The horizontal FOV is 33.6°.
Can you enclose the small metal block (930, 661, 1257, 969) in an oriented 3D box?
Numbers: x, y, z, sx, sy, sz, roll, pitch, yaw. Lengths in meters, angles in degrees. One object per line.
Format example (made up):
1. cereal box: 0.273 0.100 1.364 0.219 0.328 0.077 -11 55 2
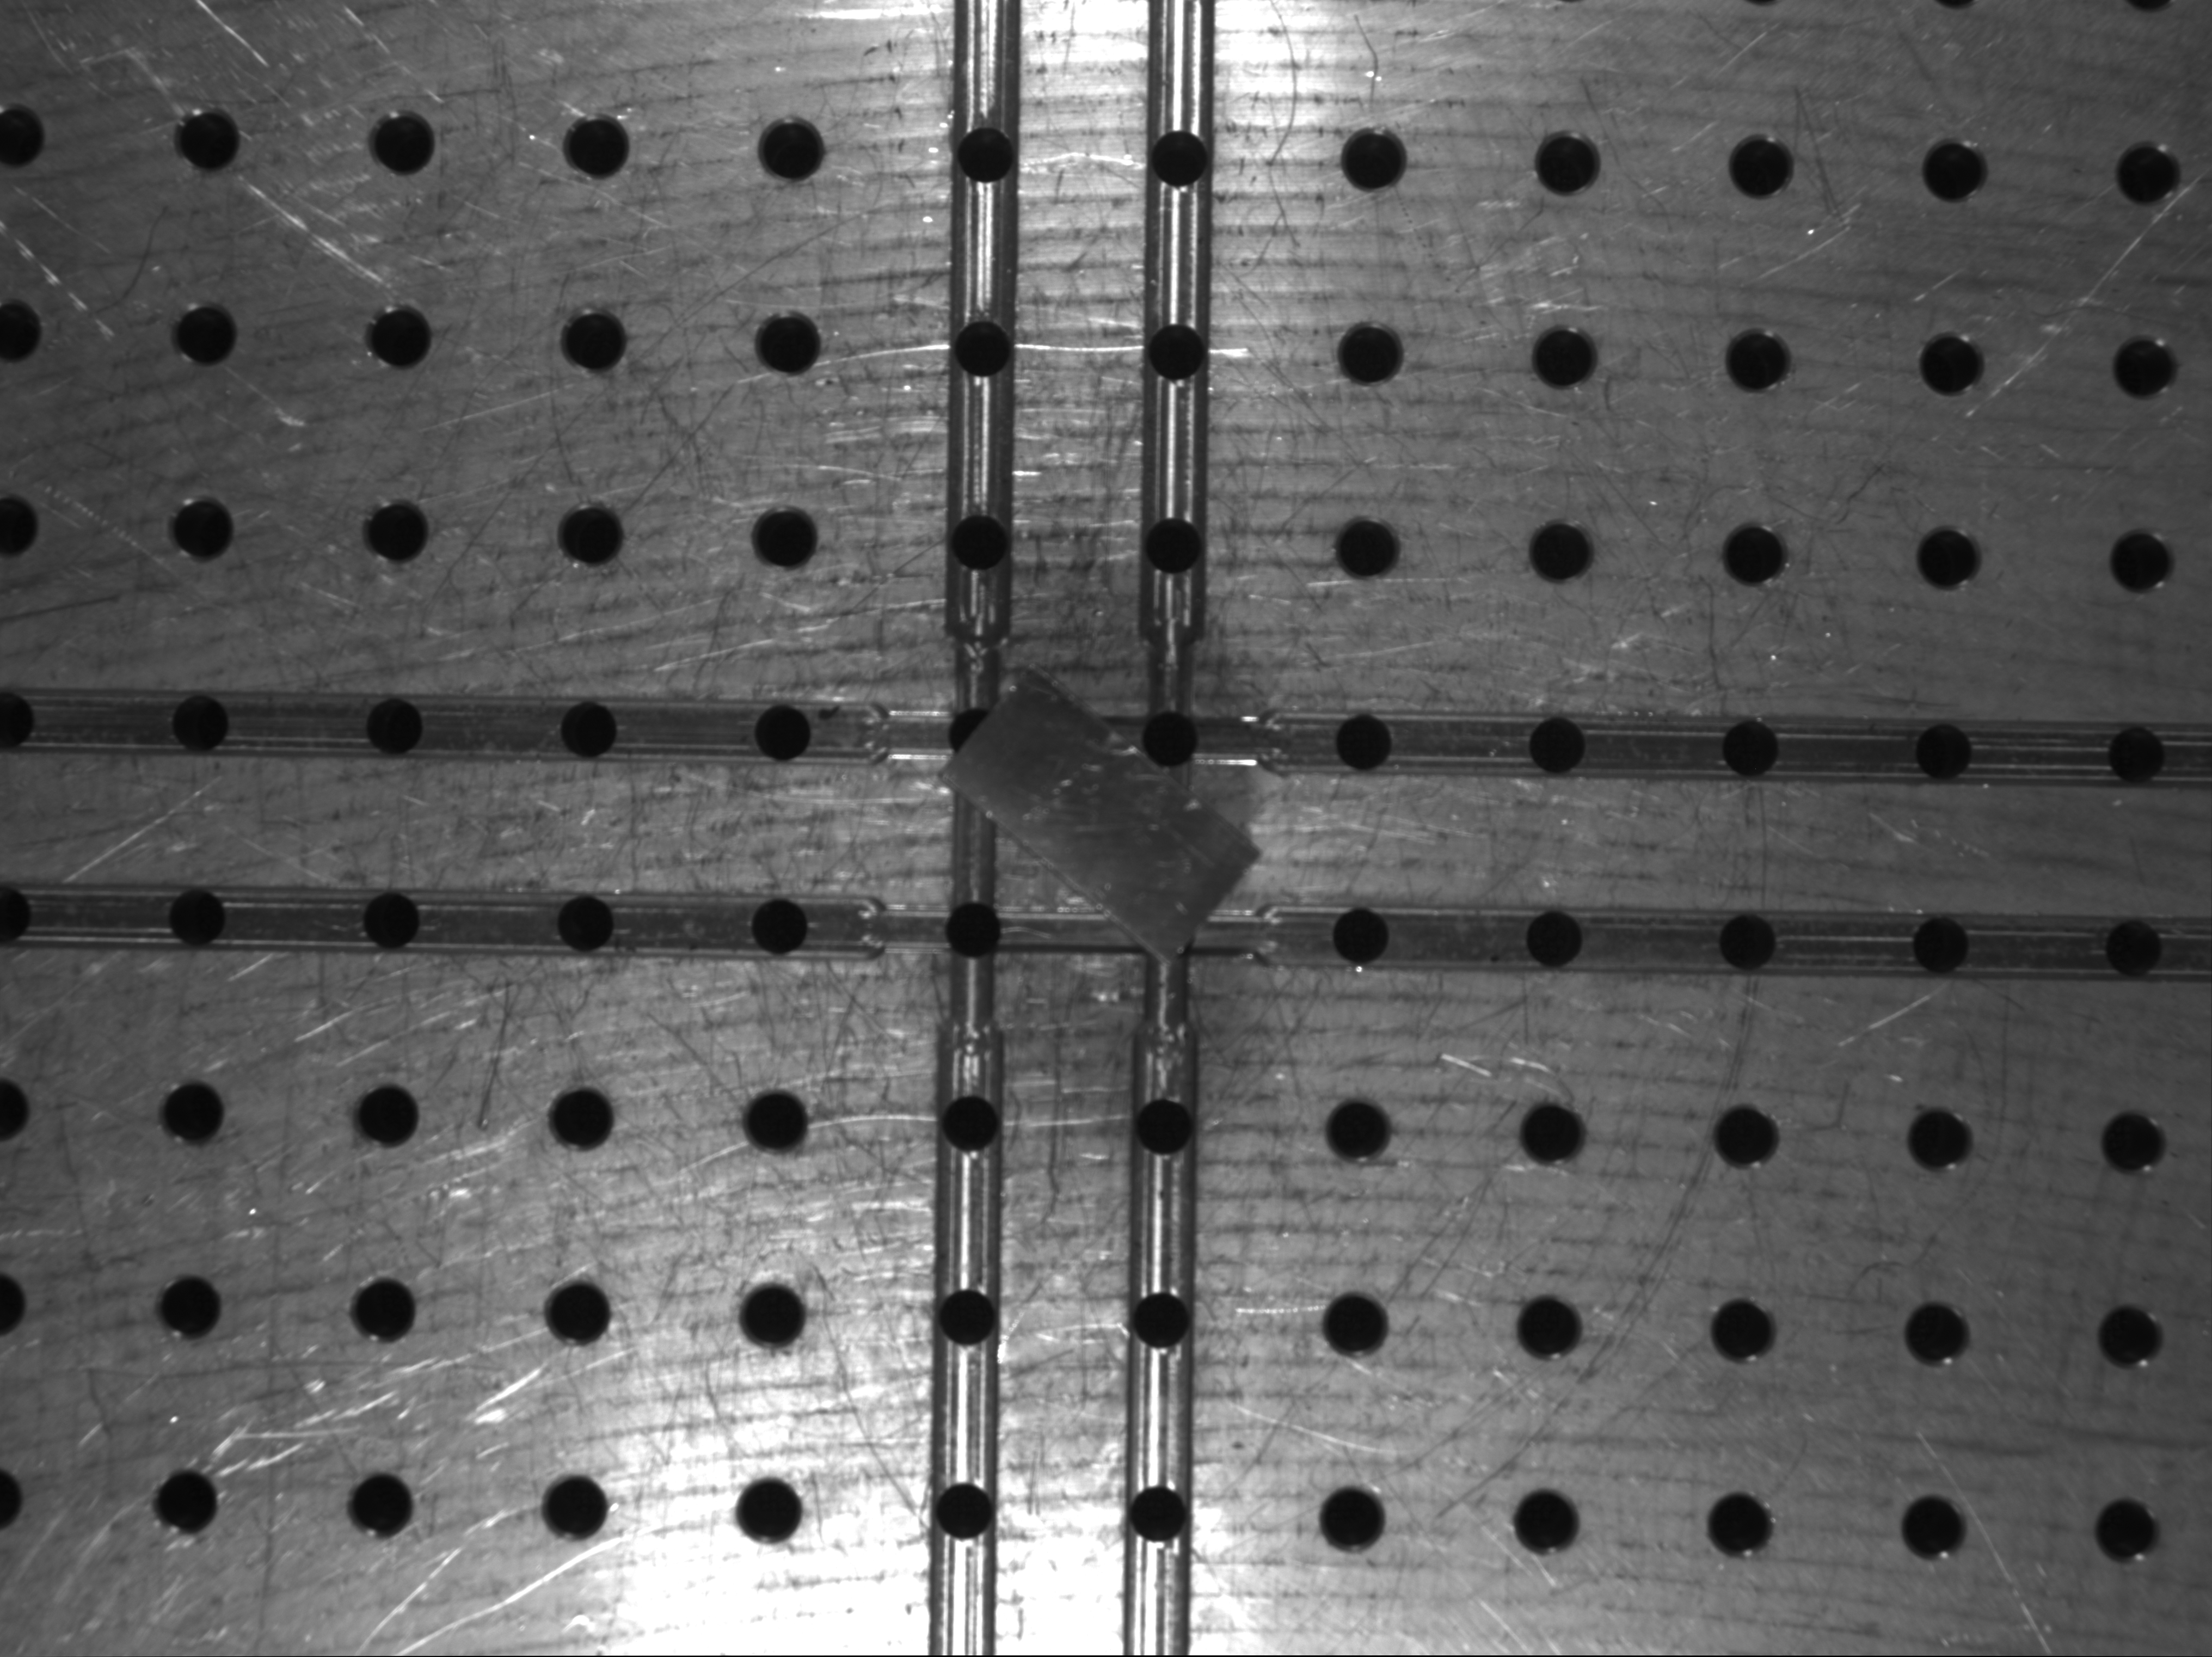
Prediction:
1. small metal block: -0.002 -0.002 0.635 0.050 0.050 0.025 40 90 0
